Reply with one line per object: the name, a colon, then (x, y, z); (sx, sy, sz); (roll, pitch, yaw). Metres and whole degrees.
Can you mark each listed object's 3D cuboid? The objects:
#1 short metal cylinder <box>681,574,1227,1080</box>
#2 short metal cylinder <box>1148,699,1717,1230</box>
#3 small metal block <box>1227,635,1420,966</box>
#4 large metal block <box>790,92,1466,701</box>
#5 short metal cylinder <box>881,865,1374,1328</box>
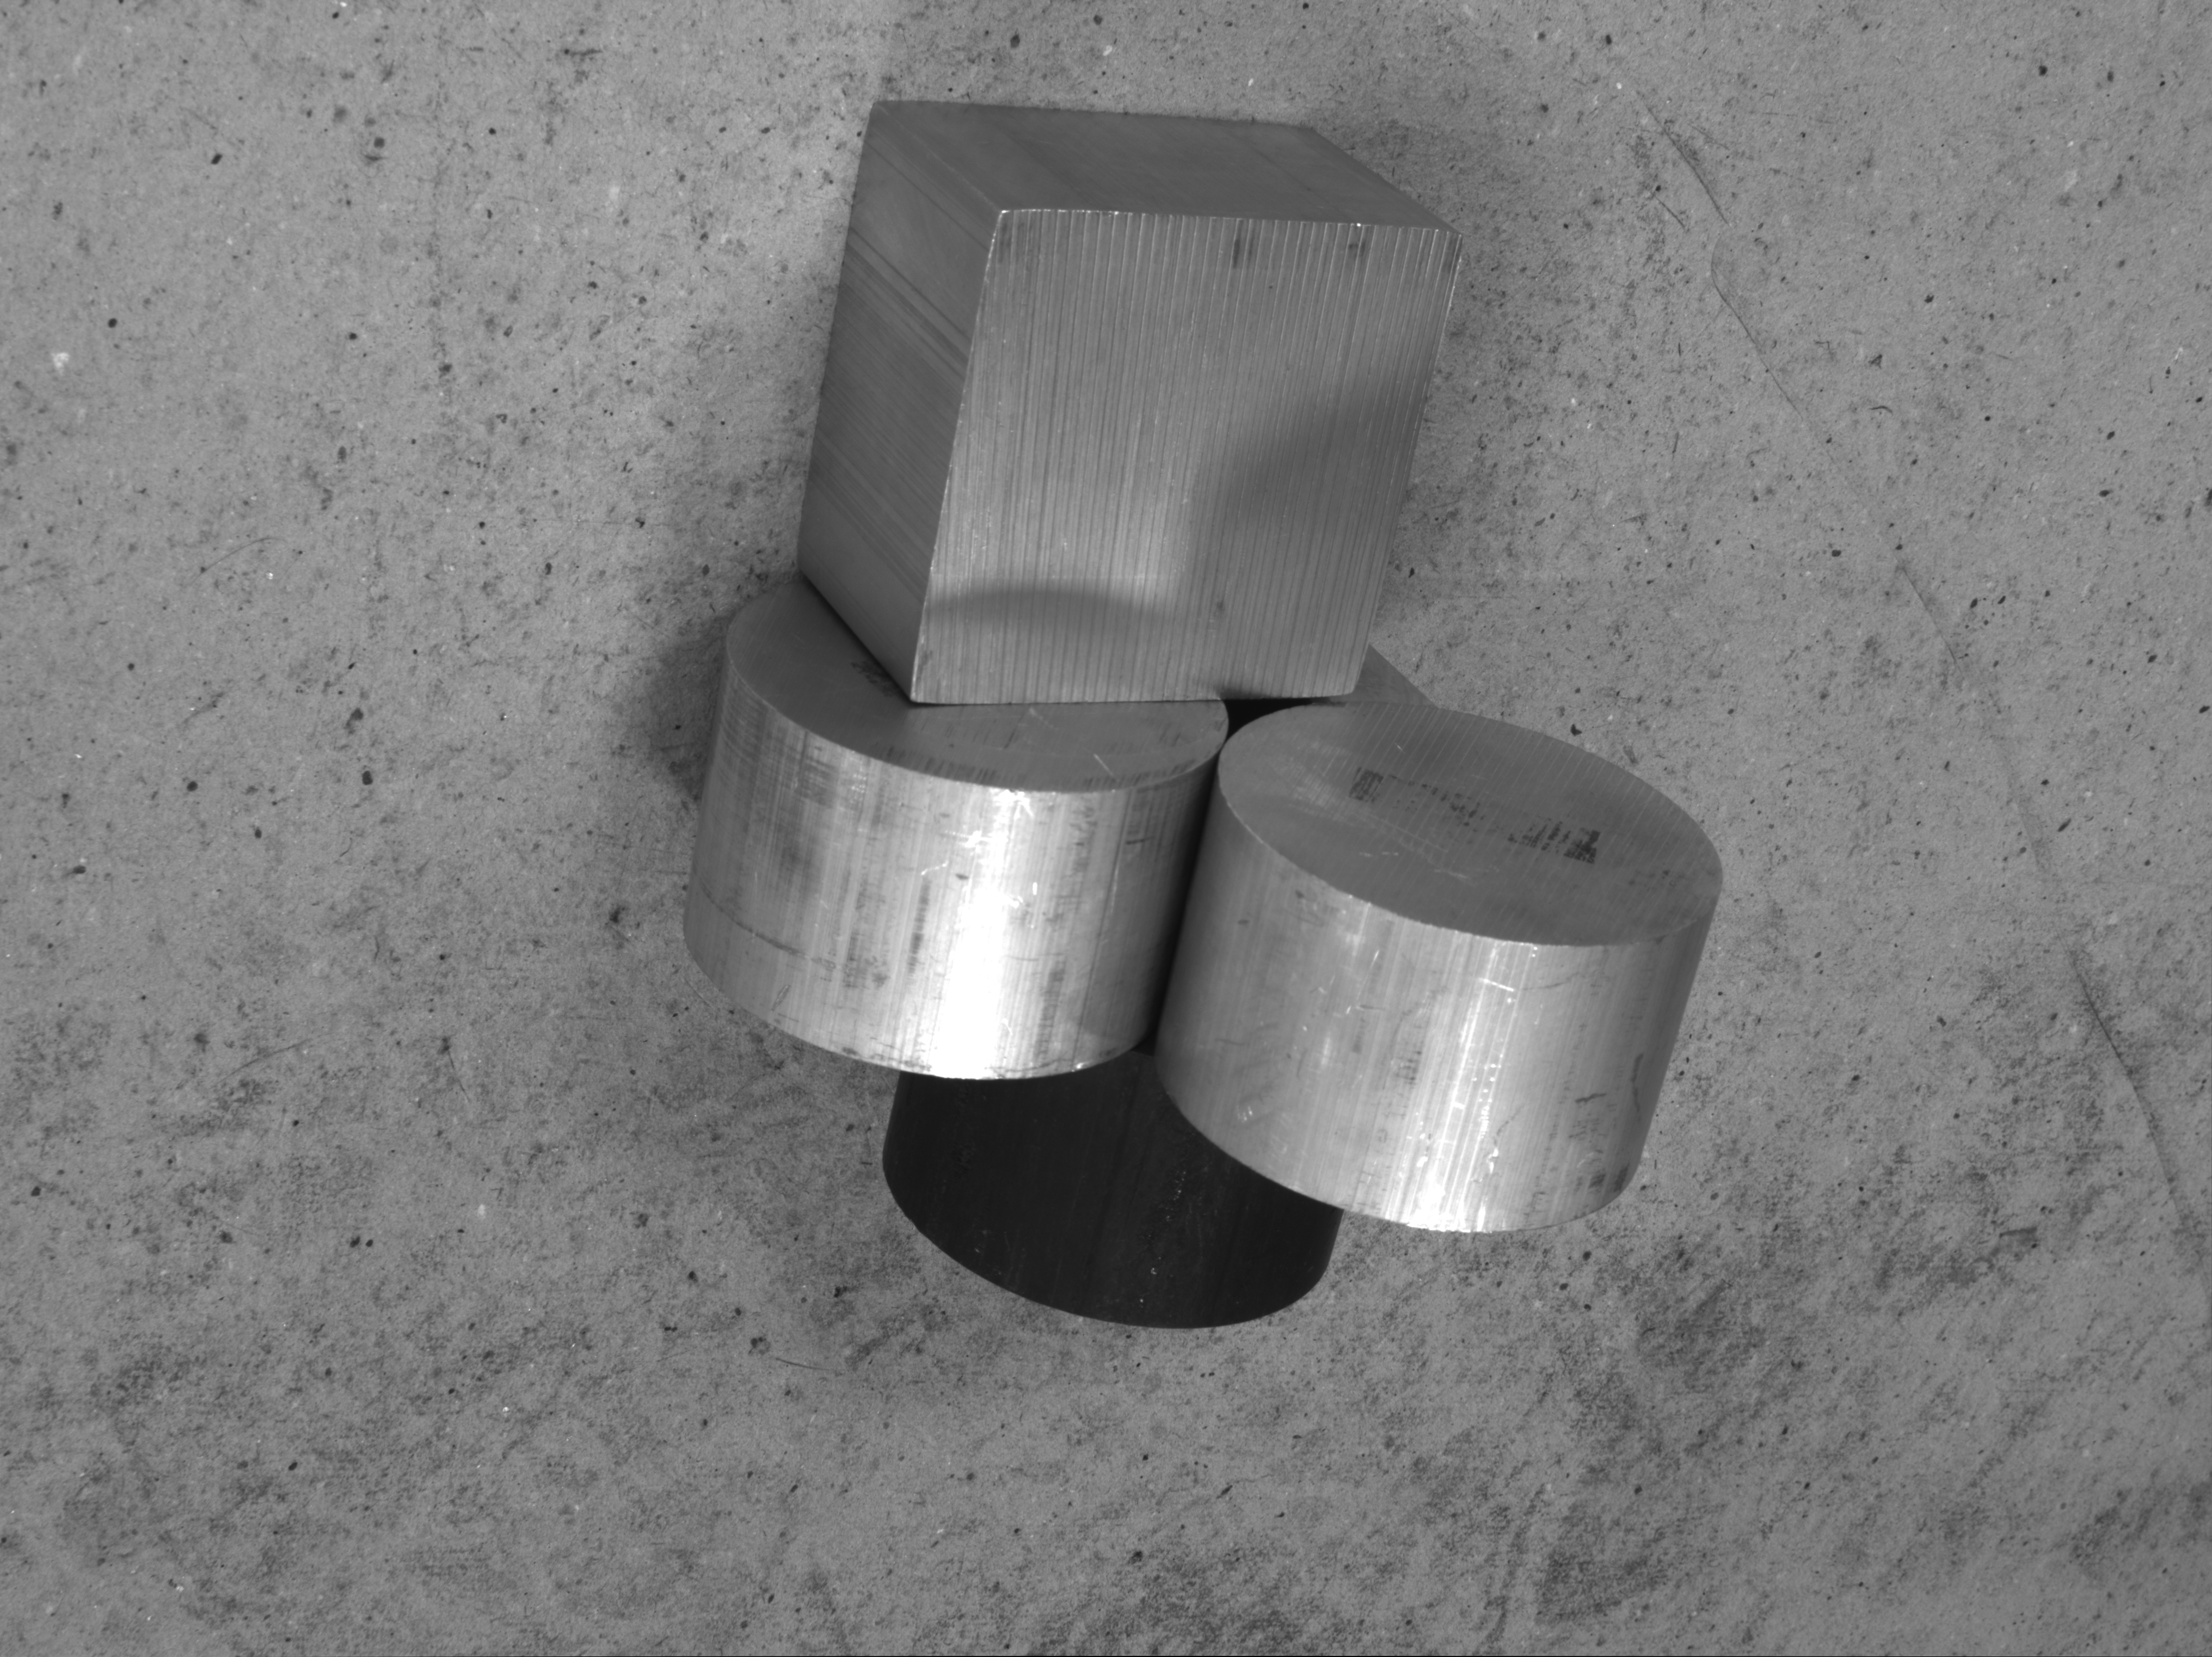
short metal cylinder: (-0.025, -0.002, 0.589); (0.080, 0.080, 0.050); (-2, 119, -27)
short metal cylinder: (0.051, 0.020, 0.578); (0.080, 0.080, 0.050); (-2, 119, -27)
small metal block: (0.026, -0.010, 0.632); (0.025, 0.050, 0.050); (1, 118, -28)
large metal block: (0.002, -0.068, 0.583); (0.080, 0.050, 0.080); (-2, 119, -27)
short metal cylinder: (0.005, 0.042, 0.632); (0.080, 0.080, 0.050); (0, 118, -28)
